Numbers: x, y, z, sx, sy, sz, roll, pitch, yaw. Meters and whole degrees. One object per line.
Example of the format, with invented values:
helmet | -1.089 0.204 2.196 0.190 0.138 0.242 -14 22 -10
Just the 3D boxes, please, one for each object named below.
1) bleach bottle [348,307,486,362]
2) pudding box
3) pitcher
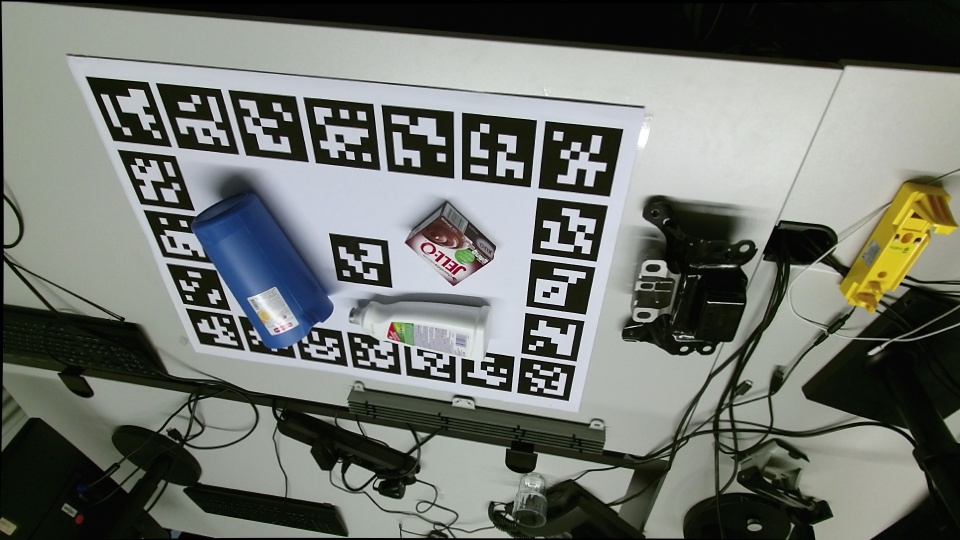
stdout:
bleach bottle | -0.117 0.105 0.947 0.251 0.067 0.102 5 122 11
pudding box | -0.054 -0.033 0.843 0.090 0.038 0.114 -32 112 36
pitcher | -0.375 -0.002 0.905 0.189 0.133 0.242 9 130 50
